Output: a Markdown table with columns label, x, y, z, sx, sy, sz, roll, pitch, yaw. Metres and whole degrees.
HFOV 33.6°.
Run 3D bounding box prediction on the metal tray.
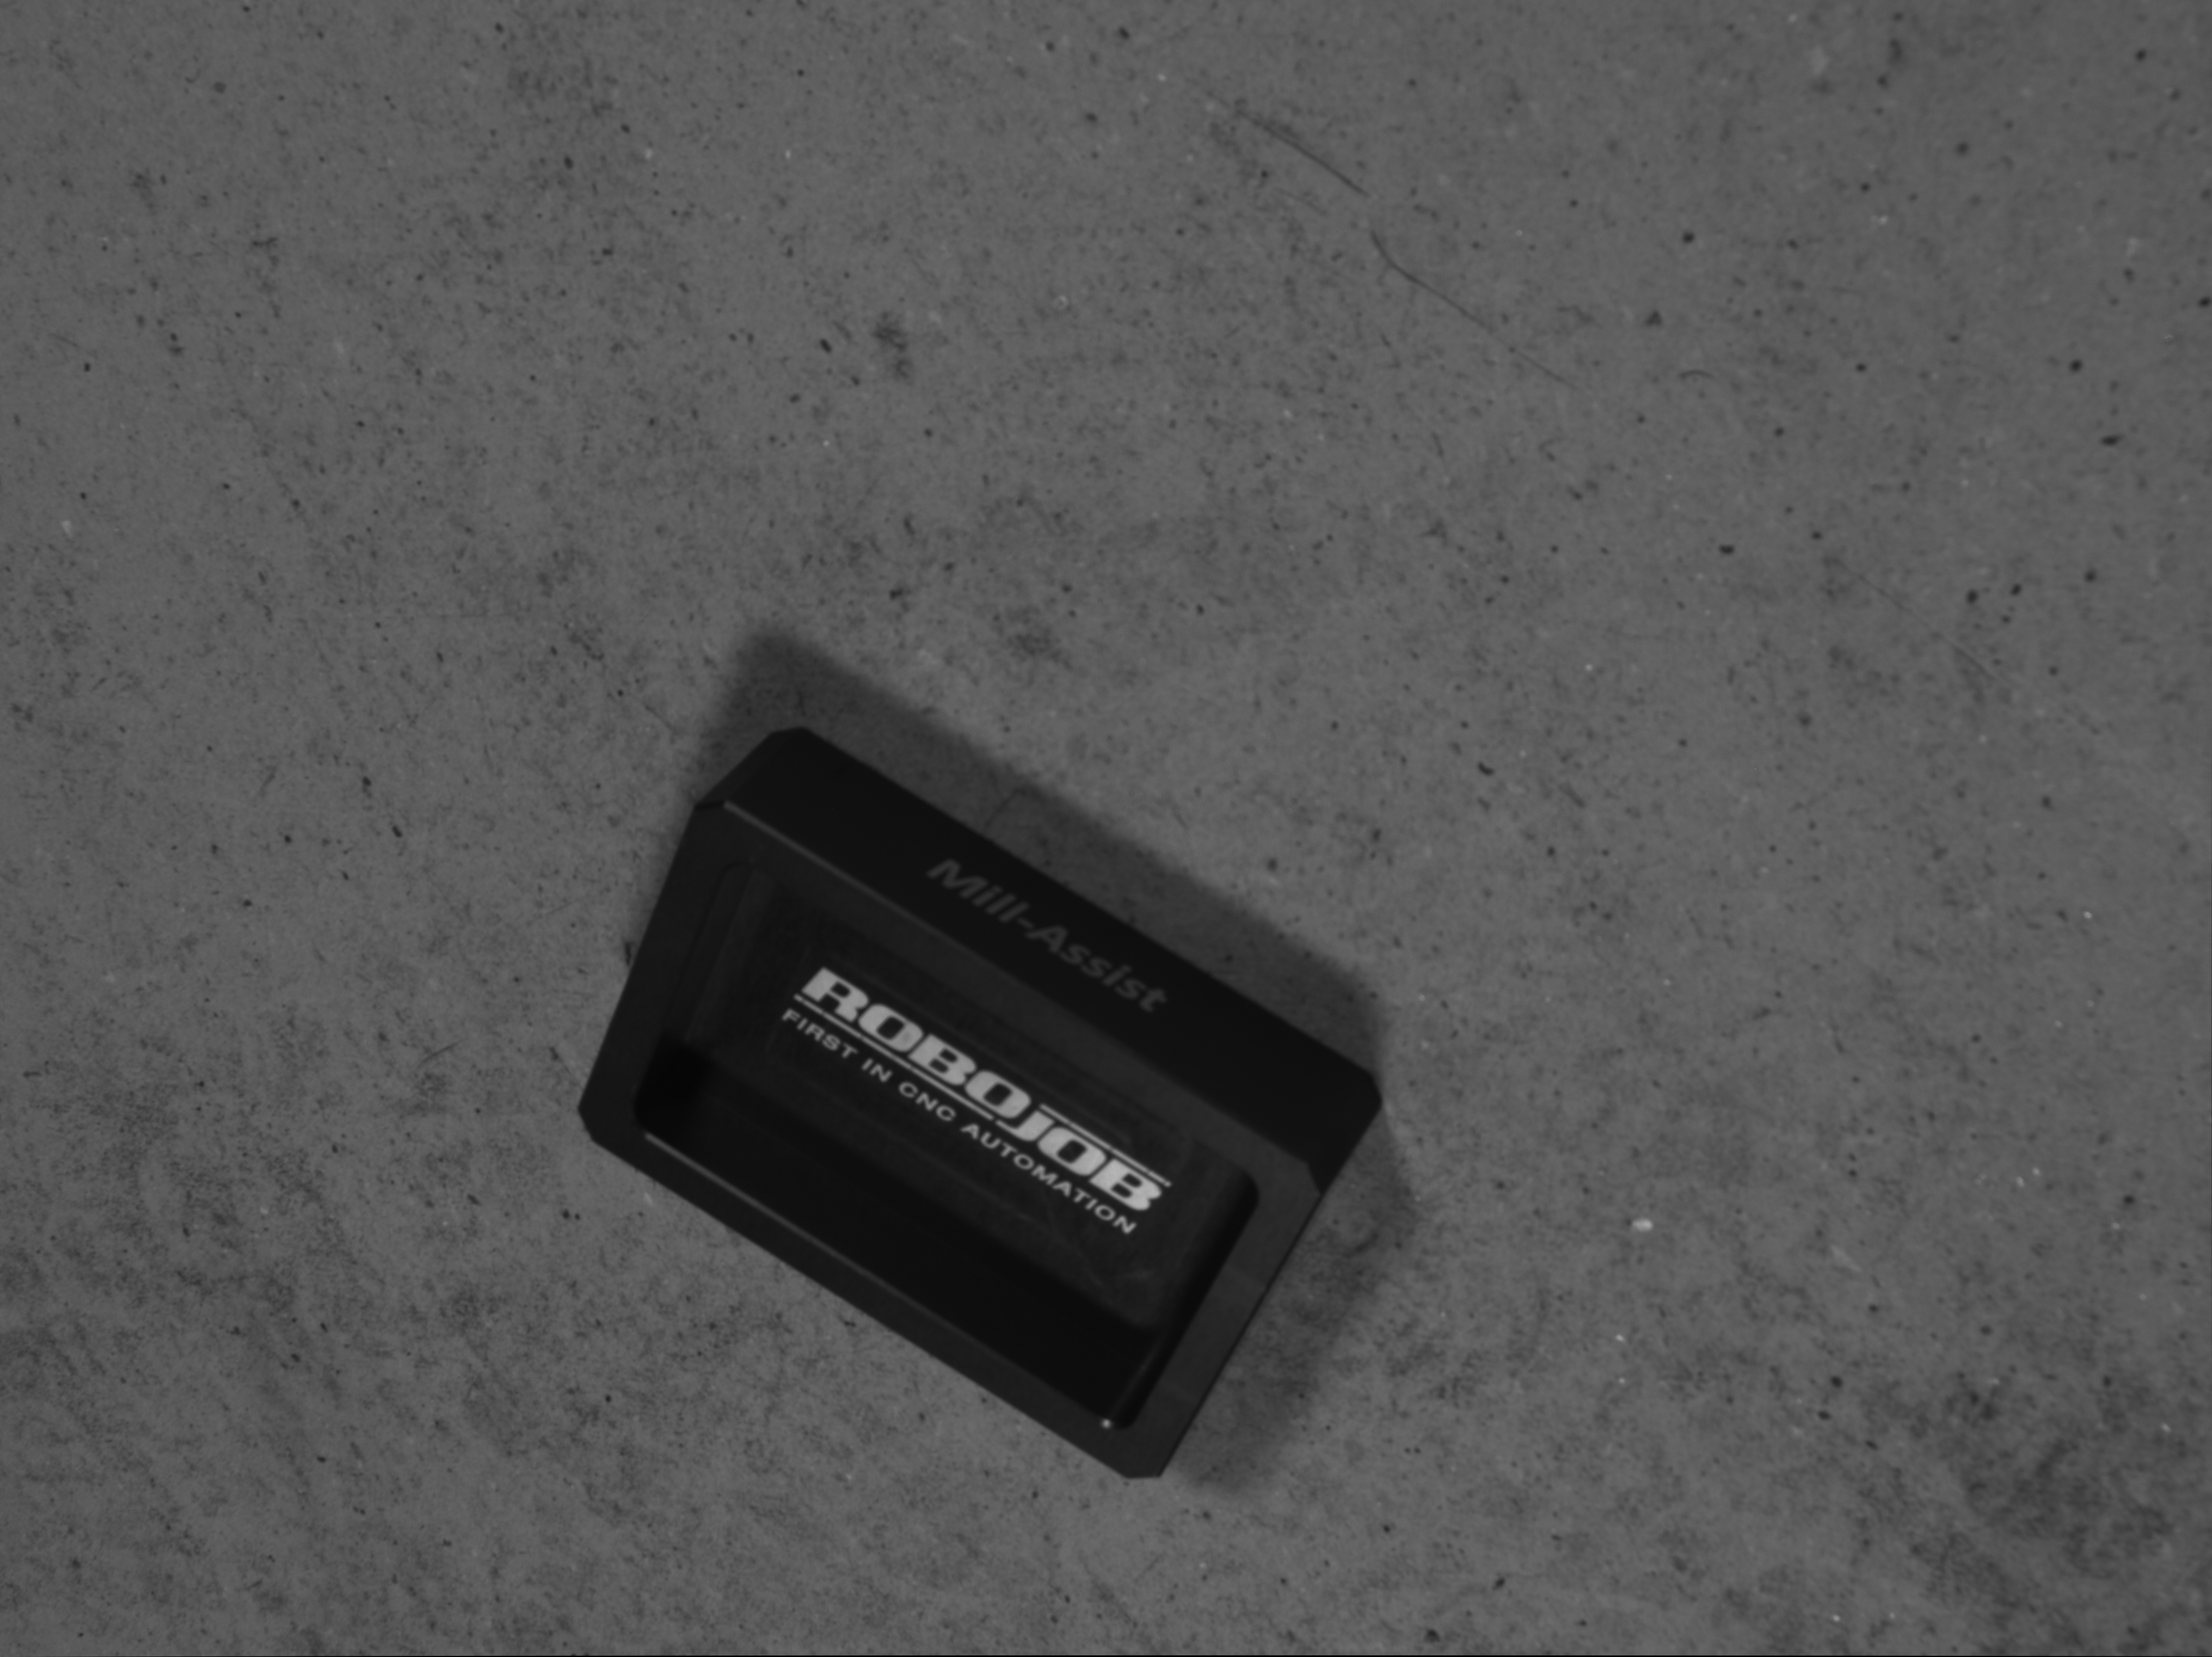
| label | x | y | z | sx | sy | sz | roll | pitch | yaw |
| --- | --- | --- | --- | --- | --- | --- | --- | --- | --- |
| metal tray | -0.028 | 0.052 | 0.673 | 0.130 | 0.030 | 0.090 | 31 | 128 | 7 |
